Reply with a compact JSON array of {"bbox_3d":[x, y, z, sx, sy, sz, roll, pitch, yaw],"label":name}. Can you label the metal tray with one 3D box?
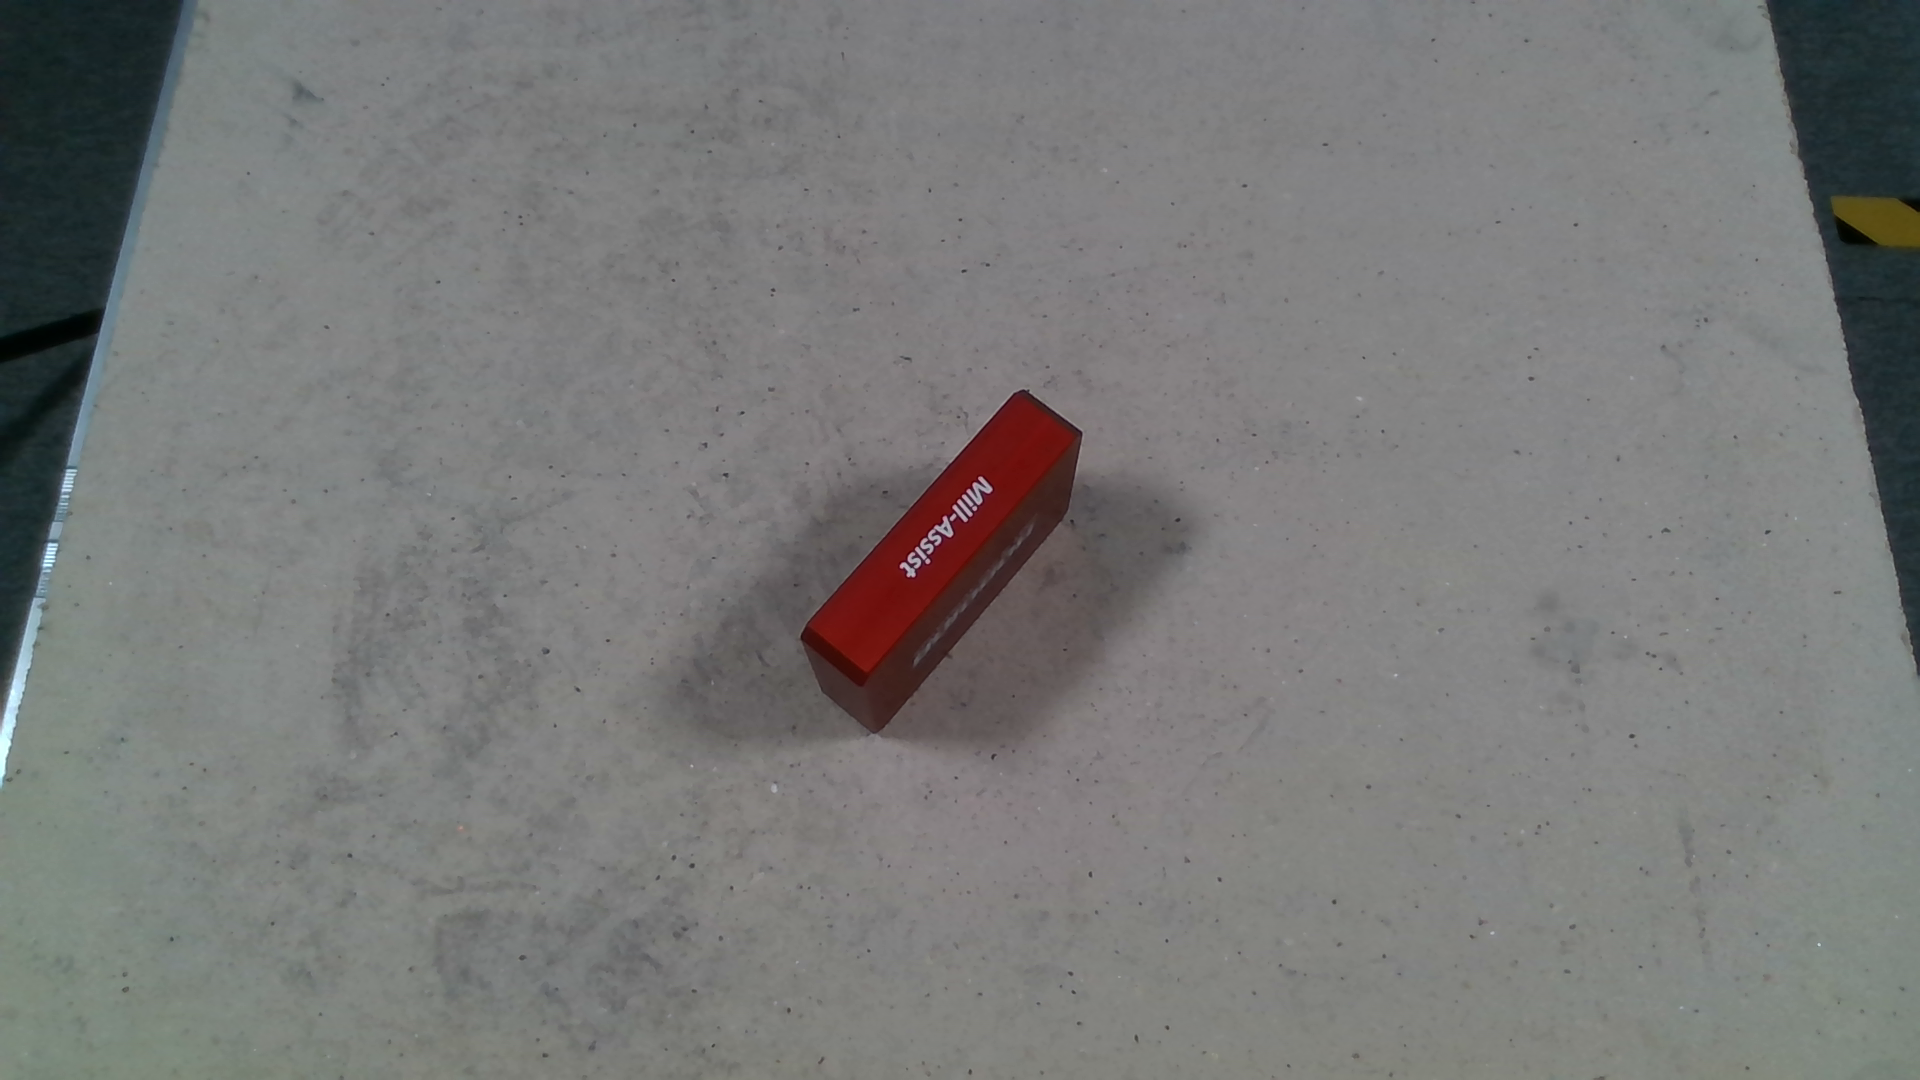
[{"bbox_3d":[-0.006,0.011,0.550,0.030,0.090,0.130,38,75,13],"label":"metal tray"}]
